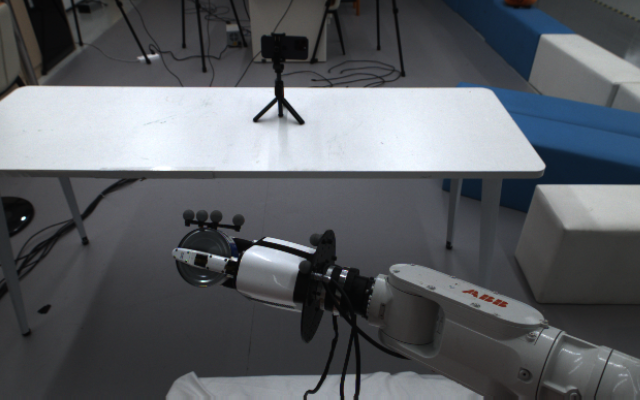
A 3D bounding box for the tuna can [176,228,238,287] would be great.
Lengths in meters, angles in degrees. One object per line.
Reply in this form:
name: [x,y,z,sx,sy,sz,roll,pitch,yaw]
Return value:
tuna can: [-0.163,0.084,0.706,0.085,0.085,0.034,12,-6,14]
